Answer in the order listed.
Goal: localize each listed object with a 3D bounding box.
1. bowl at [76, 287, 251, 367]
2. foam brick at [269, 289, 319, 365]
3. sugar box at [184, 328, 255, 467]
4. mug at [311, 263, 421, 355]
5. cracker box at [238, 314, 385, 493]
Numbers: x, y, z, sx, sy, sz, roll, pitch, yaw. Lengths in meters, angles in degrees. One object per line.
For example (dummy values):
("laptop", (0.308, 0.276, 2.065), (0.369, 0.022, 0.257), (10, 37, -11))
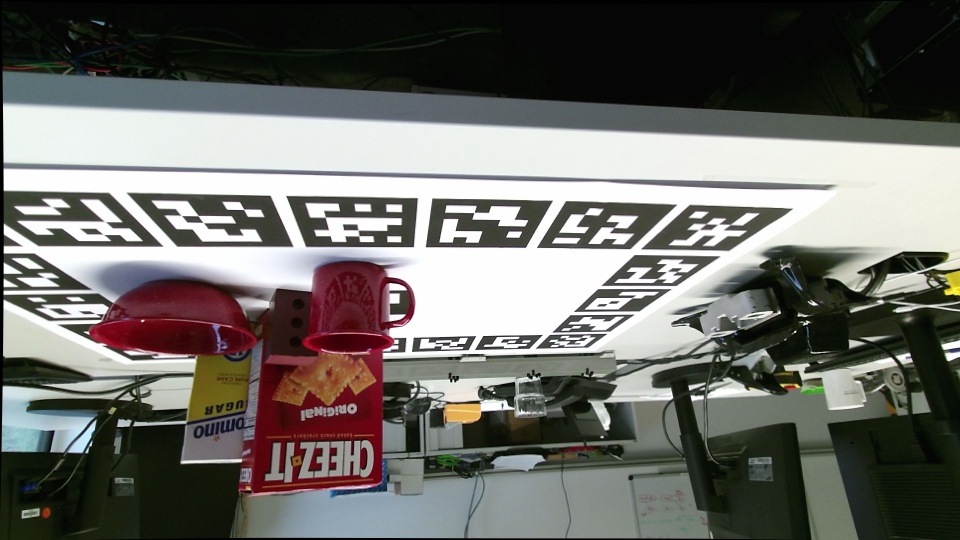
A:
("bowl", (-0.333, 0.060, 0.581), (0.162, 0.055, 0.162), (-4, 157, -2))
("foam brick", (-0.217, 0.068, 0.631), (0.053, 0.077, 0.051), (5, 156, -24))
("sugar box", (-0.324, 0.163, 0.699), (0.093, 0.175, 0.045), (8, 154, -29))
("mug", (-0.121, 0.041, 0.556), (0.117, 0.081, 0.093), (-5, 166, -2))
("cracker box", (-0.211, 0.173, 0.698), (0.165, 0.212, 0.072), (14, 153, -36))
